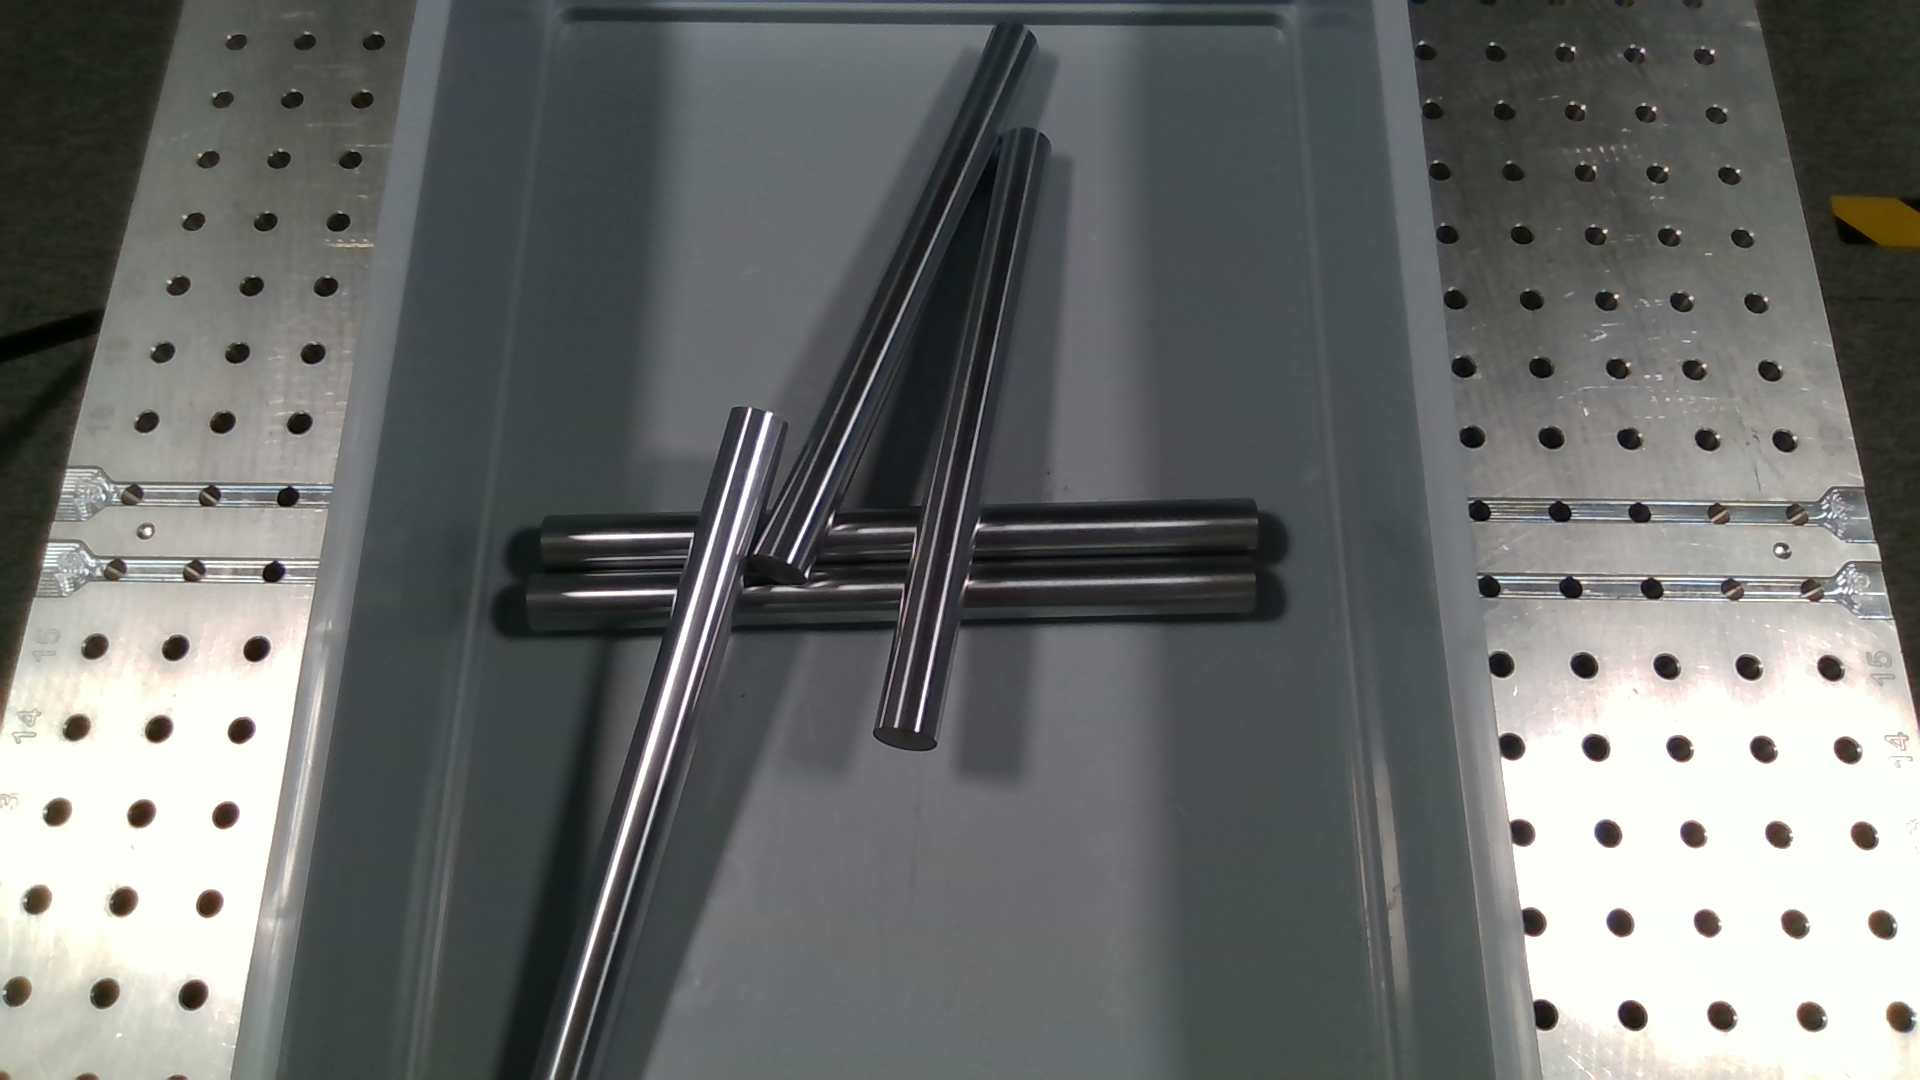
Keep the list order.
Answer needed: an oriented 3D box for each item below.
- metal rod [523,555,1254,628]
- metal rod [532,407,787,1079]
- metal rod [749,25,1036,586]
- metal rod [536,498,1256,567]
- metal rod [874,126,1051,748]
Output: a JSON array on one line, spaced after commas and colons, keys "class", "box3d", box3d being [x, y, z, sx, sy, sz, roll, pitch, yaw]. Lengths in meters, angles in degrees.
[{"class": "metal rod", "box3d": [-0.029, 0.021, 0.578, 0.300, 0.025, 0.025, -1, 70, 0]}, {"class": "metal rod", "box3d": [-0.118, 0.091, 0.536, 0.025, 0.025, 0.299, 13, 76, 5]}, {"class": "metal rod", "box3d": [-0.024, -0.115, 0.615, 0.025, 0.025, 0.299, 18, 66, 6]}, {"class": "metal rod", "box3d": [-0.026, -0.003, 0.586, 0.300, 0.025, 0.025, -1, 70, 0]}, {"class": "metal rod", "box3d": [0.005, -0.056, 0.586, 0.025, 0.025, 0.299, 9, 63, 3]}]
